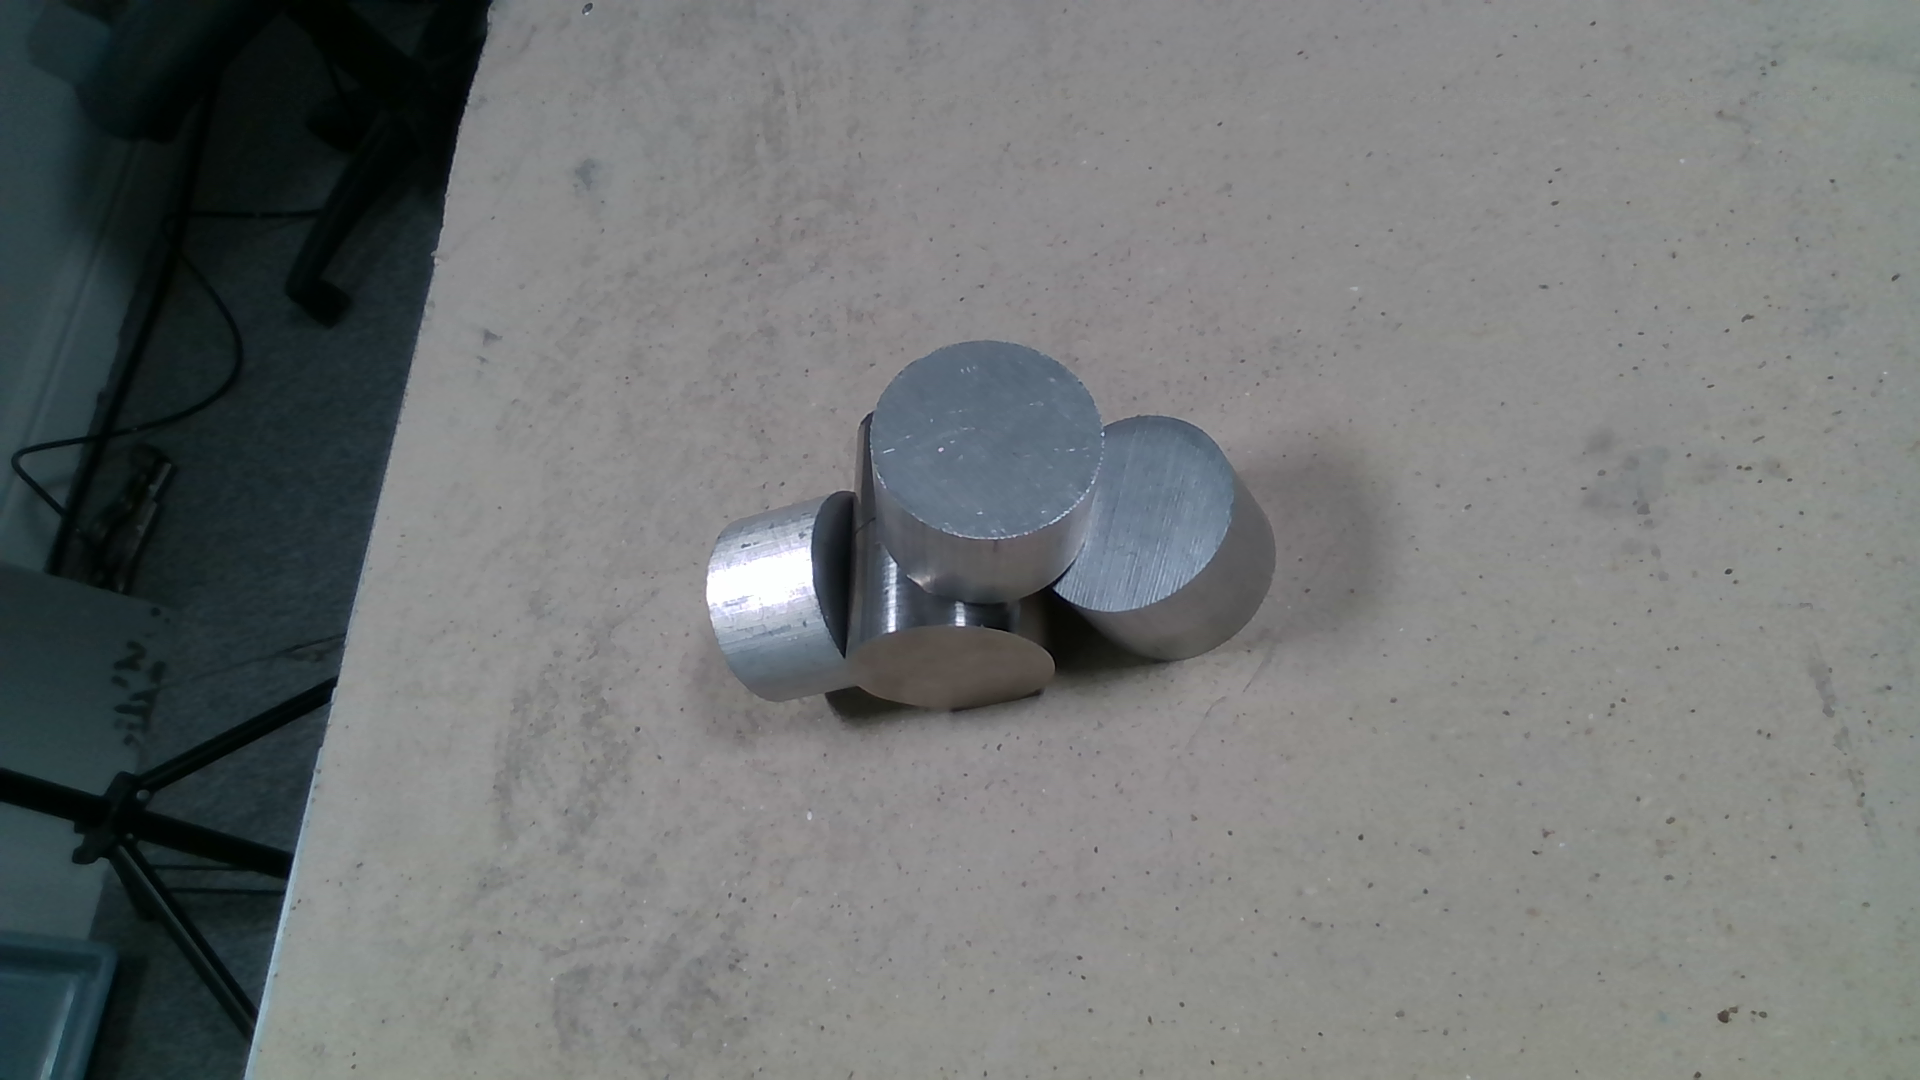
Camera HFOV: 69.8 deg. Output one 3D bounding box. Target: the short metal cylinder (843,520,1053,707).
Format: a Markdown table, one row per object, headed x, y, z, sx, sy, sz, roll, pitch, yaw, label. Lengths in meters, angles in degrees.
| x | y | z | sx | sy | sz | roll | pitch | yaw | label |
| --- | --- | --- | --- | --- | --- | --- | --- | --- | --- |
| -0.004 | 0.027 | 0.538 | 0.080 | 0.080 | 0.050 | -14 | 58 | 25 | short metal cylinder |

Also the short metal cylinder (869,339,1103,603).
| x | y | z | sx | sy | sz | roll | pitch | yaw | label |
| --- | --- | --- | --- | --- | --- | --- | --- | --- | --- |
| 0.009 | -0.024 | 0.492 | 0.080 | 0.050 | 0.080 | 0 | 62 | 0 | short metal cylinder |

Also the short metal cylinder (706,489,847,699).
| x | y | z | sx | sy | sz | roll | pitch | yaw | label |
| --- | --- | --- | --- | --- | --- | --- | --- | --- | --- |
| -0.061 | 0.024 | 0.576 | 0.050 | 0.080 | 0.080 | -14 | 59 | 25 | short metal cylinder |

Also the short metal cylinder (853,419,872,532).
| x | y | z | sx | sy | sz | roll | pitch | yaw | label |
| --- | --- | --- | --- | --- | --- | --- | --- | --- | --- |
| -0.004 | -0.018 | 0.563 | 0.080 | 0.080 | 0.050 | -14 | 59 | 25 | short metal cylinder |

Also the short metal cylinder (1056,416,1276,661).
| x | y | z | sx | sy | sz | roll | pitch | yaw | label |
| --- | --- | --- | --- | --- | --- | --- | --- | --- | --- |
| 0.074 | 0.000 | 0.525 | 0.080 | 0.050 | 0.080 | -14 | 59 | 25 | short metal cylinder |
